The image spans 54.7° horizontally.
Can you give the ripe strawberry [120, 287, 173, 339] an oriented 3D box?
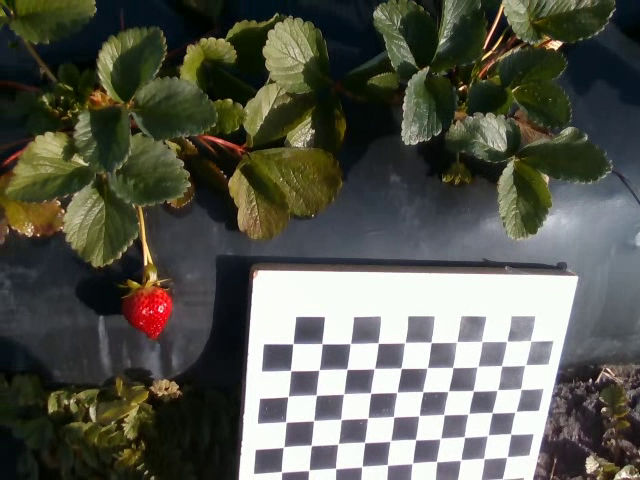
[{"bbox_3d":[-0.123,0.055,0.442,0.040,0.044,0.036,-17,7,-7],"label":"ripe strawberry"}]
